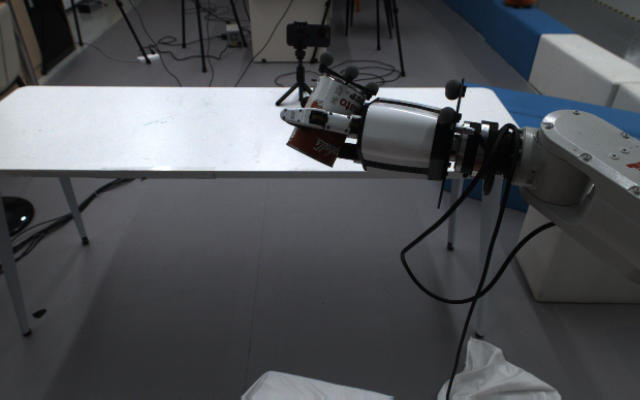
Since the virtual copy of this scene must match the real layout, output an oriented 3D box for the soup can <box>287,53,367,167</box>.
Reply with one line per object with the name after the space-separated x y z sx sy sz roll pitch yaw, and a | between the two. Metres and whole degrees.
0.009 -0.102 0.621 0.067 0.101 0.067 26 6 -3 | soup can
